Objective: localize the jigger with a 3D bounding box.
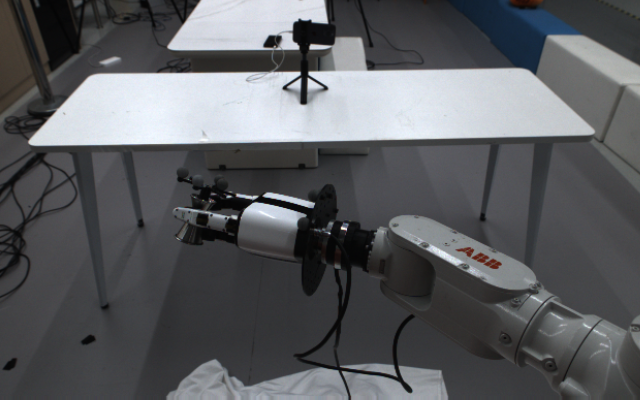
[{"bbox_3d":[-0.184,0.027,0.714,0.043,0.071,0.043,21,6,-2],"label":"jigger"}]
